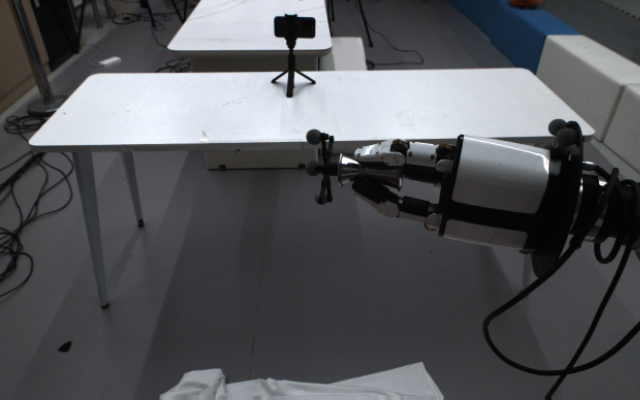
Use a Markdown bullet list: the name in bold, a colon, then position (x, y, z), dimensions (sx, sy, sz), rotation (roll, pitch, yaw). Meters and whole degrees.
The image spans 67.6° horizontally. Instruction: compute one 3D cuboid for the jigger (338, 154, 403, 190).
- **jigger**: position (0.065, -0.037, 0.546), dimensions (0.071, 0.043, 0.043), rotation (2, 34, 13)
